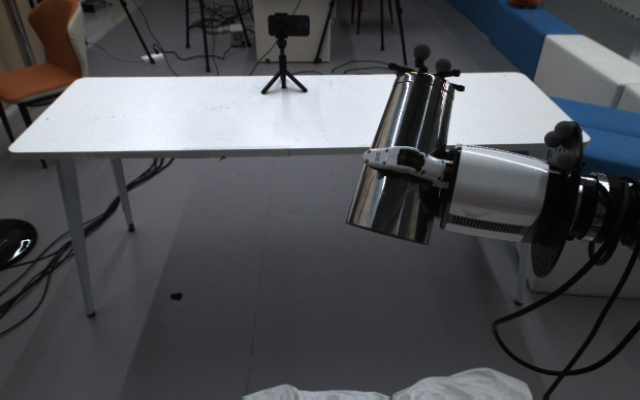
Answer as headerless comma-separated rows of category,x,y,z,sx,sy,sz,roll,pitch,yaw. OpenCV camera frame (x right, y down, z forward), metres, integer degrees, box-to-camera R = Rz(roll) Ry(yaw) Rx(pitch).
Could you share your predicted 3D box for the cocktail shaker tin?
cocktail shaker tin,0.094,-0.046,0.525,0.093,0.170,0.093,16,-4,1
